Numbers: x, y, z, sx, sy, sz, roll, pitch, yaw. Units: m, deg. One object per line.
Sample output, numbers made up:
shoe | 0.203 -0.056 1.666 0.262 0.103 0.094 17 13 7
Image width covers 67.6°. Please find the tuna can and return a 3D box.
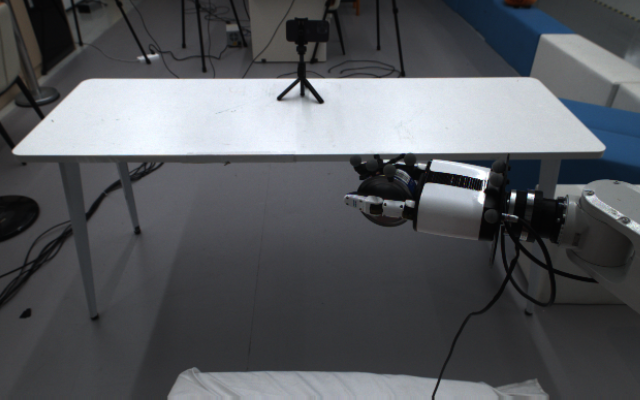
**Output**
tuna can | 0.101 -0.001 0.701 0.085 0.085 0.034 15 34 18
